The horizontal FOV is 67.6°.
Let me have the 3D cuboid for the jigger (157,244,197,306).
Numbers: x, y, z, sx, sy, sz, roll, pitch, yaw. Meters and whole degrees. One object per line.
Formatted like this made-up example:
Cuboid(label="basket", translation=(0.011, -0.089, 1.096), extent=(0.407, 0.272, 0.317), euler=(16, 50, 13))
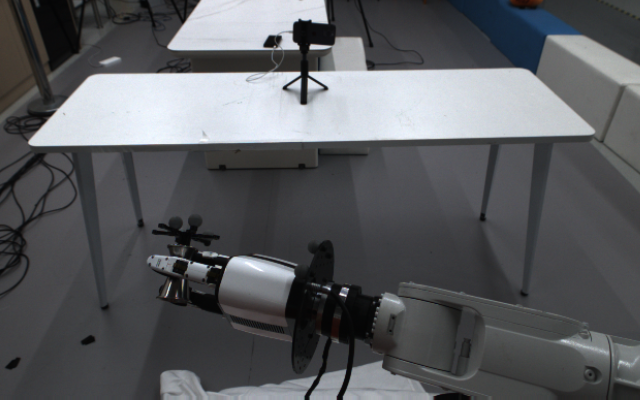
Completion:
Cuboid(label="jigger", translation=(-0.180, 0.094, 0.615), extent=(0.043, 0.043, 0.071), euler=(5, 71, 3))
